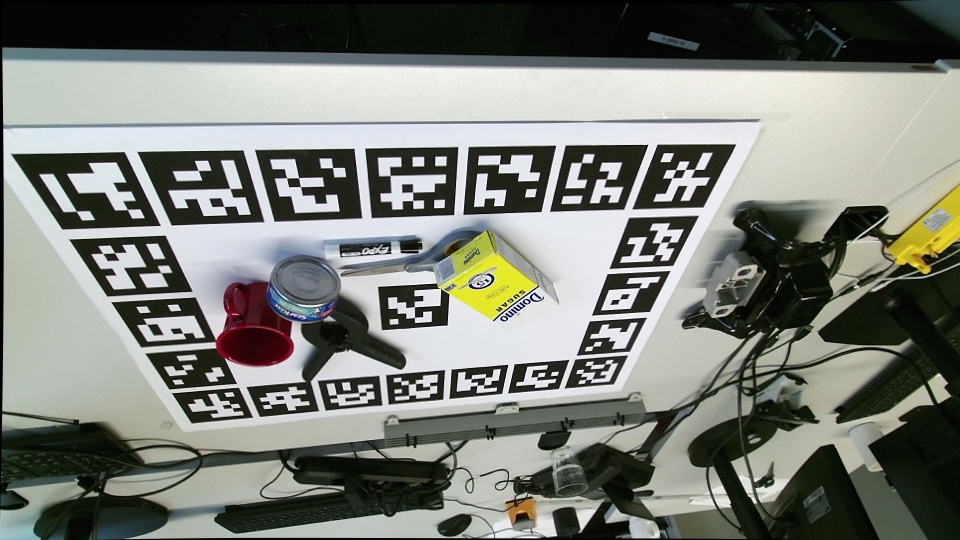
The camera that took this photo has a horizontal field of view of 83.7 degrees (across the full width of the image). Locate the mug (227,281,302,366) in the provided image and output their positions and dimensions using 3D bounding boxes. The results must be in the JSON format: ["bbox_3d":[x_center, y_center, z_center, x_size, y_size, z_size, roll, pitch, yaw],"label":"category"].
[{"bbox_3d":[-0.285,0.062,0.706,0.093,0.081,0.117,-22,138,11],"label":"mug"}]

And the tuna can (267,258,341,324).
[{"bbox_3d":[-0.221,0.025,0.674,0.086,0.085,0.034,10,132,-21],"label":"tuna can"}]

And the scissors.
[{"bbox_3d":[-0.080,0.001,0.724,0.203,0.016,0.088,-10,140,0],"label":"scissors"}]

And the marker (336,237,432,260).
[{"bbox_3d":[-0.122,-0.028,0.690,0.121,0.019,0.019,-6,134,-7],"label":"marker"}]

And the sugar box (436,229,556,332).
[{"bbox_3d":[0.027,0.023,0.746,0.093,0.045,0.177,-29,139,17],"label":"sugar box"}]

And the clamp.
[{"bbox_3d":[-0.206,0.102,0.804,0.166,0.036,0.203,-10,135,-1],"label":"clamp"}]
